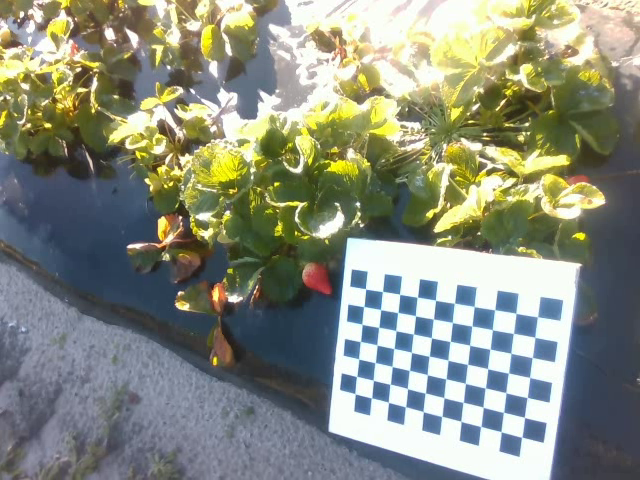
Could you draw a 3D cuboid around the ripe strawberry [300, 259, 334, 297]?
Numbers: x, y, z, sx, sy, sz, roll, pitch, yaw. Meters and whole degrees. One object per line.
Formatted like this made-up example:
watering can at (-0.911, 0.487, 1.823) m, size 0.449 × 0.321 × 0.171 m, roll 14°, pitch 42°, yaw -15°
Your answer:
ripe strawberry at (-0.007, 0.064, 0.903) m, size 0.040 × 0.065 × 0.040 m, roll -45°, pitch -19°, yaw 18°
